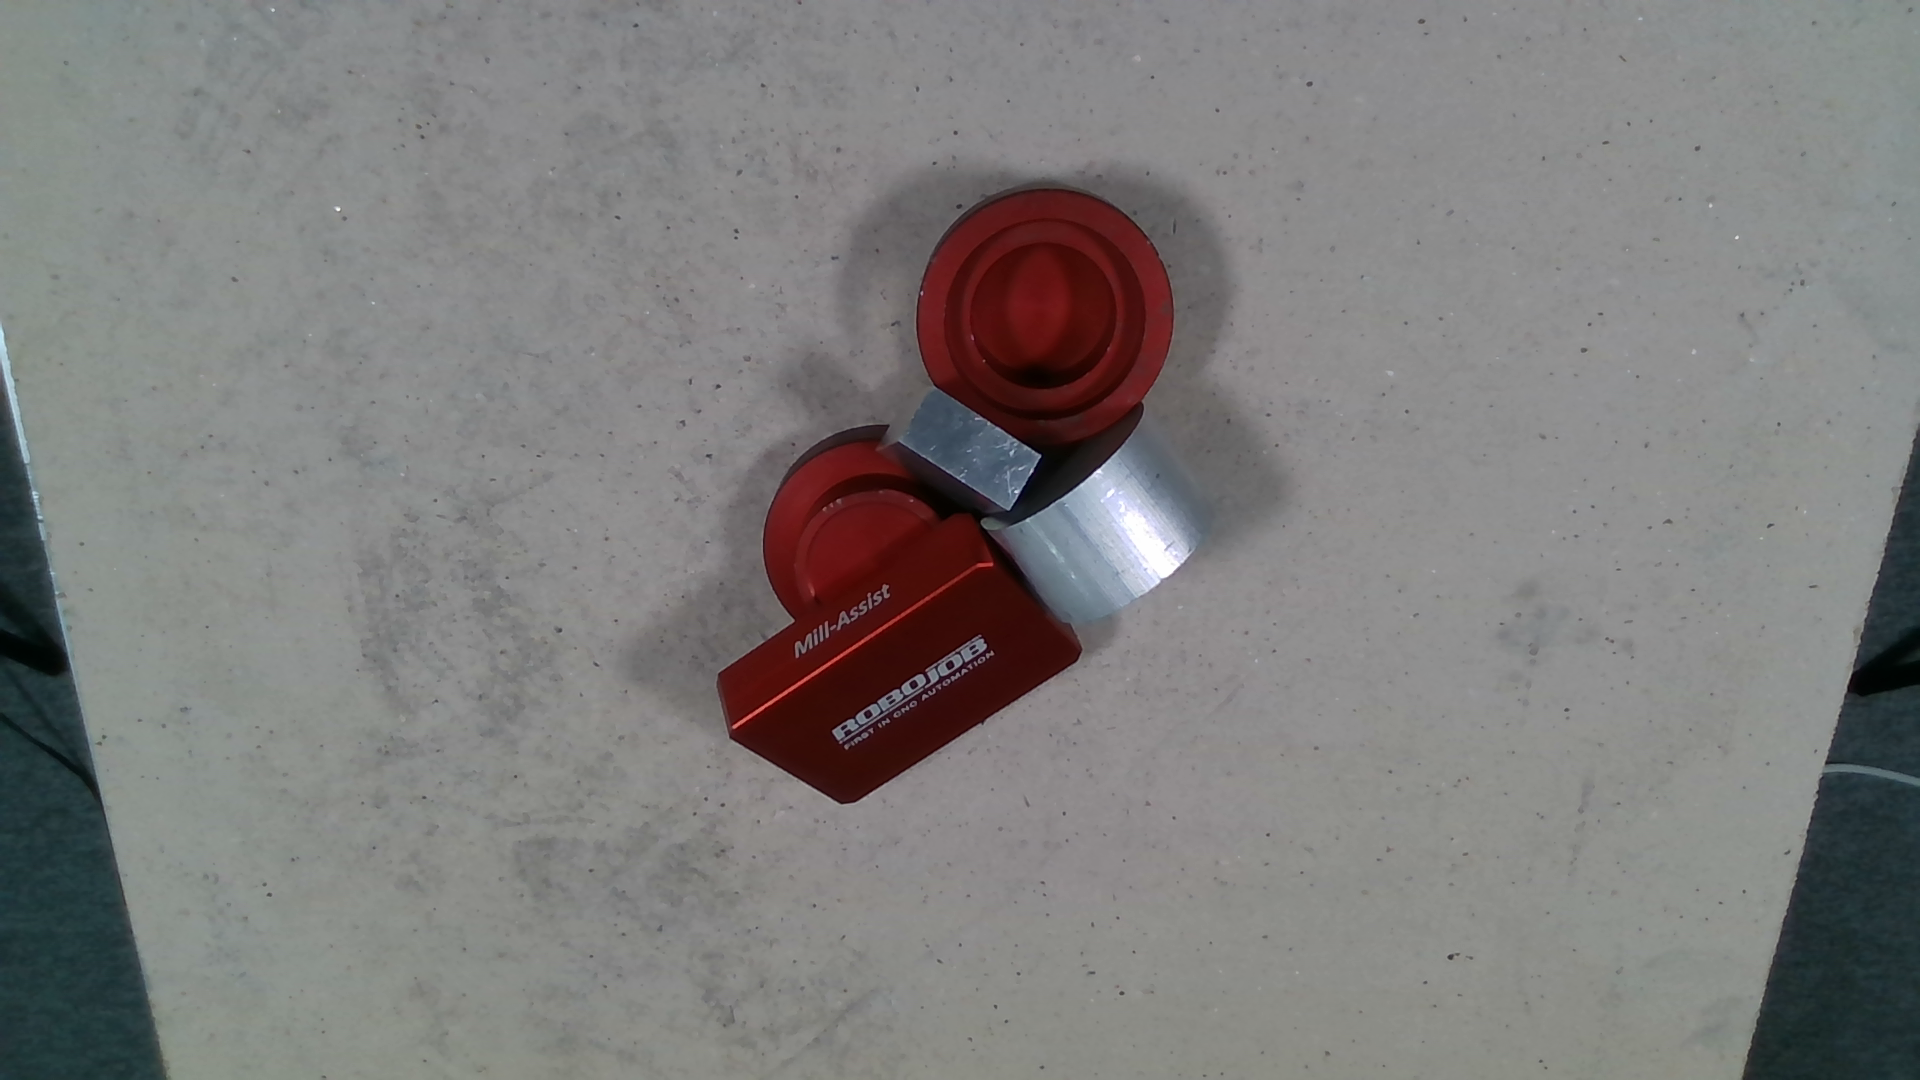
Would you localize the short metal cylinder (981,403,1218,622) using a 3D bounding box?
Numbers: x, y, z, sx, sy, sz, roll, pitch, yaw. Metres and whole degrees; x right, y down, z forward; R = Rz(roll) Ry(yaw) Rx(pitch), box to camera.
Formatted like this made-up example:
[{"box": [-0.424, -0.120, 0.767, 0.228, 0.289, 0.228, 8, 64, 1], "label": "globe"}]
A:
[{"box": [0.055, -0.013, 0.551, 0.080, 0.080, 0.050, -36, 106, 12], "label": "short metal cylinder"}]

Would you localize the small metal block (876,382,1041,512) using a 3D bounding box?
[{"box": [-0.002, -0.035, 0.540, 0.050, 0.050, 0.025, 32, 83, -11], "label": "small metal block"}]

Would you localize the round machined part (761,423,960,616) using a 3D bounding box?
[{"box": [-0.034, 0.004, 0.577, 0.098, 0.042, 0.098, 0, 110, 0], "label": "round machined part"}]

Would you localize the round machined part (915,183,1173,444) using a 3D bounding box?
[{"box": [0.032, -0.091, 0.542, 0.098, 0.042, 0.098, 0, 110, 0], "label": "round machined part"}]

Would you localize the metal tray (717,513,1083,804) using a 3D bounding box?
[{"box": [-0.025, 0.053, 0.578, 0.130, 0.030, 0.090, -34, 138, 12], "label": "metal tray"}]
